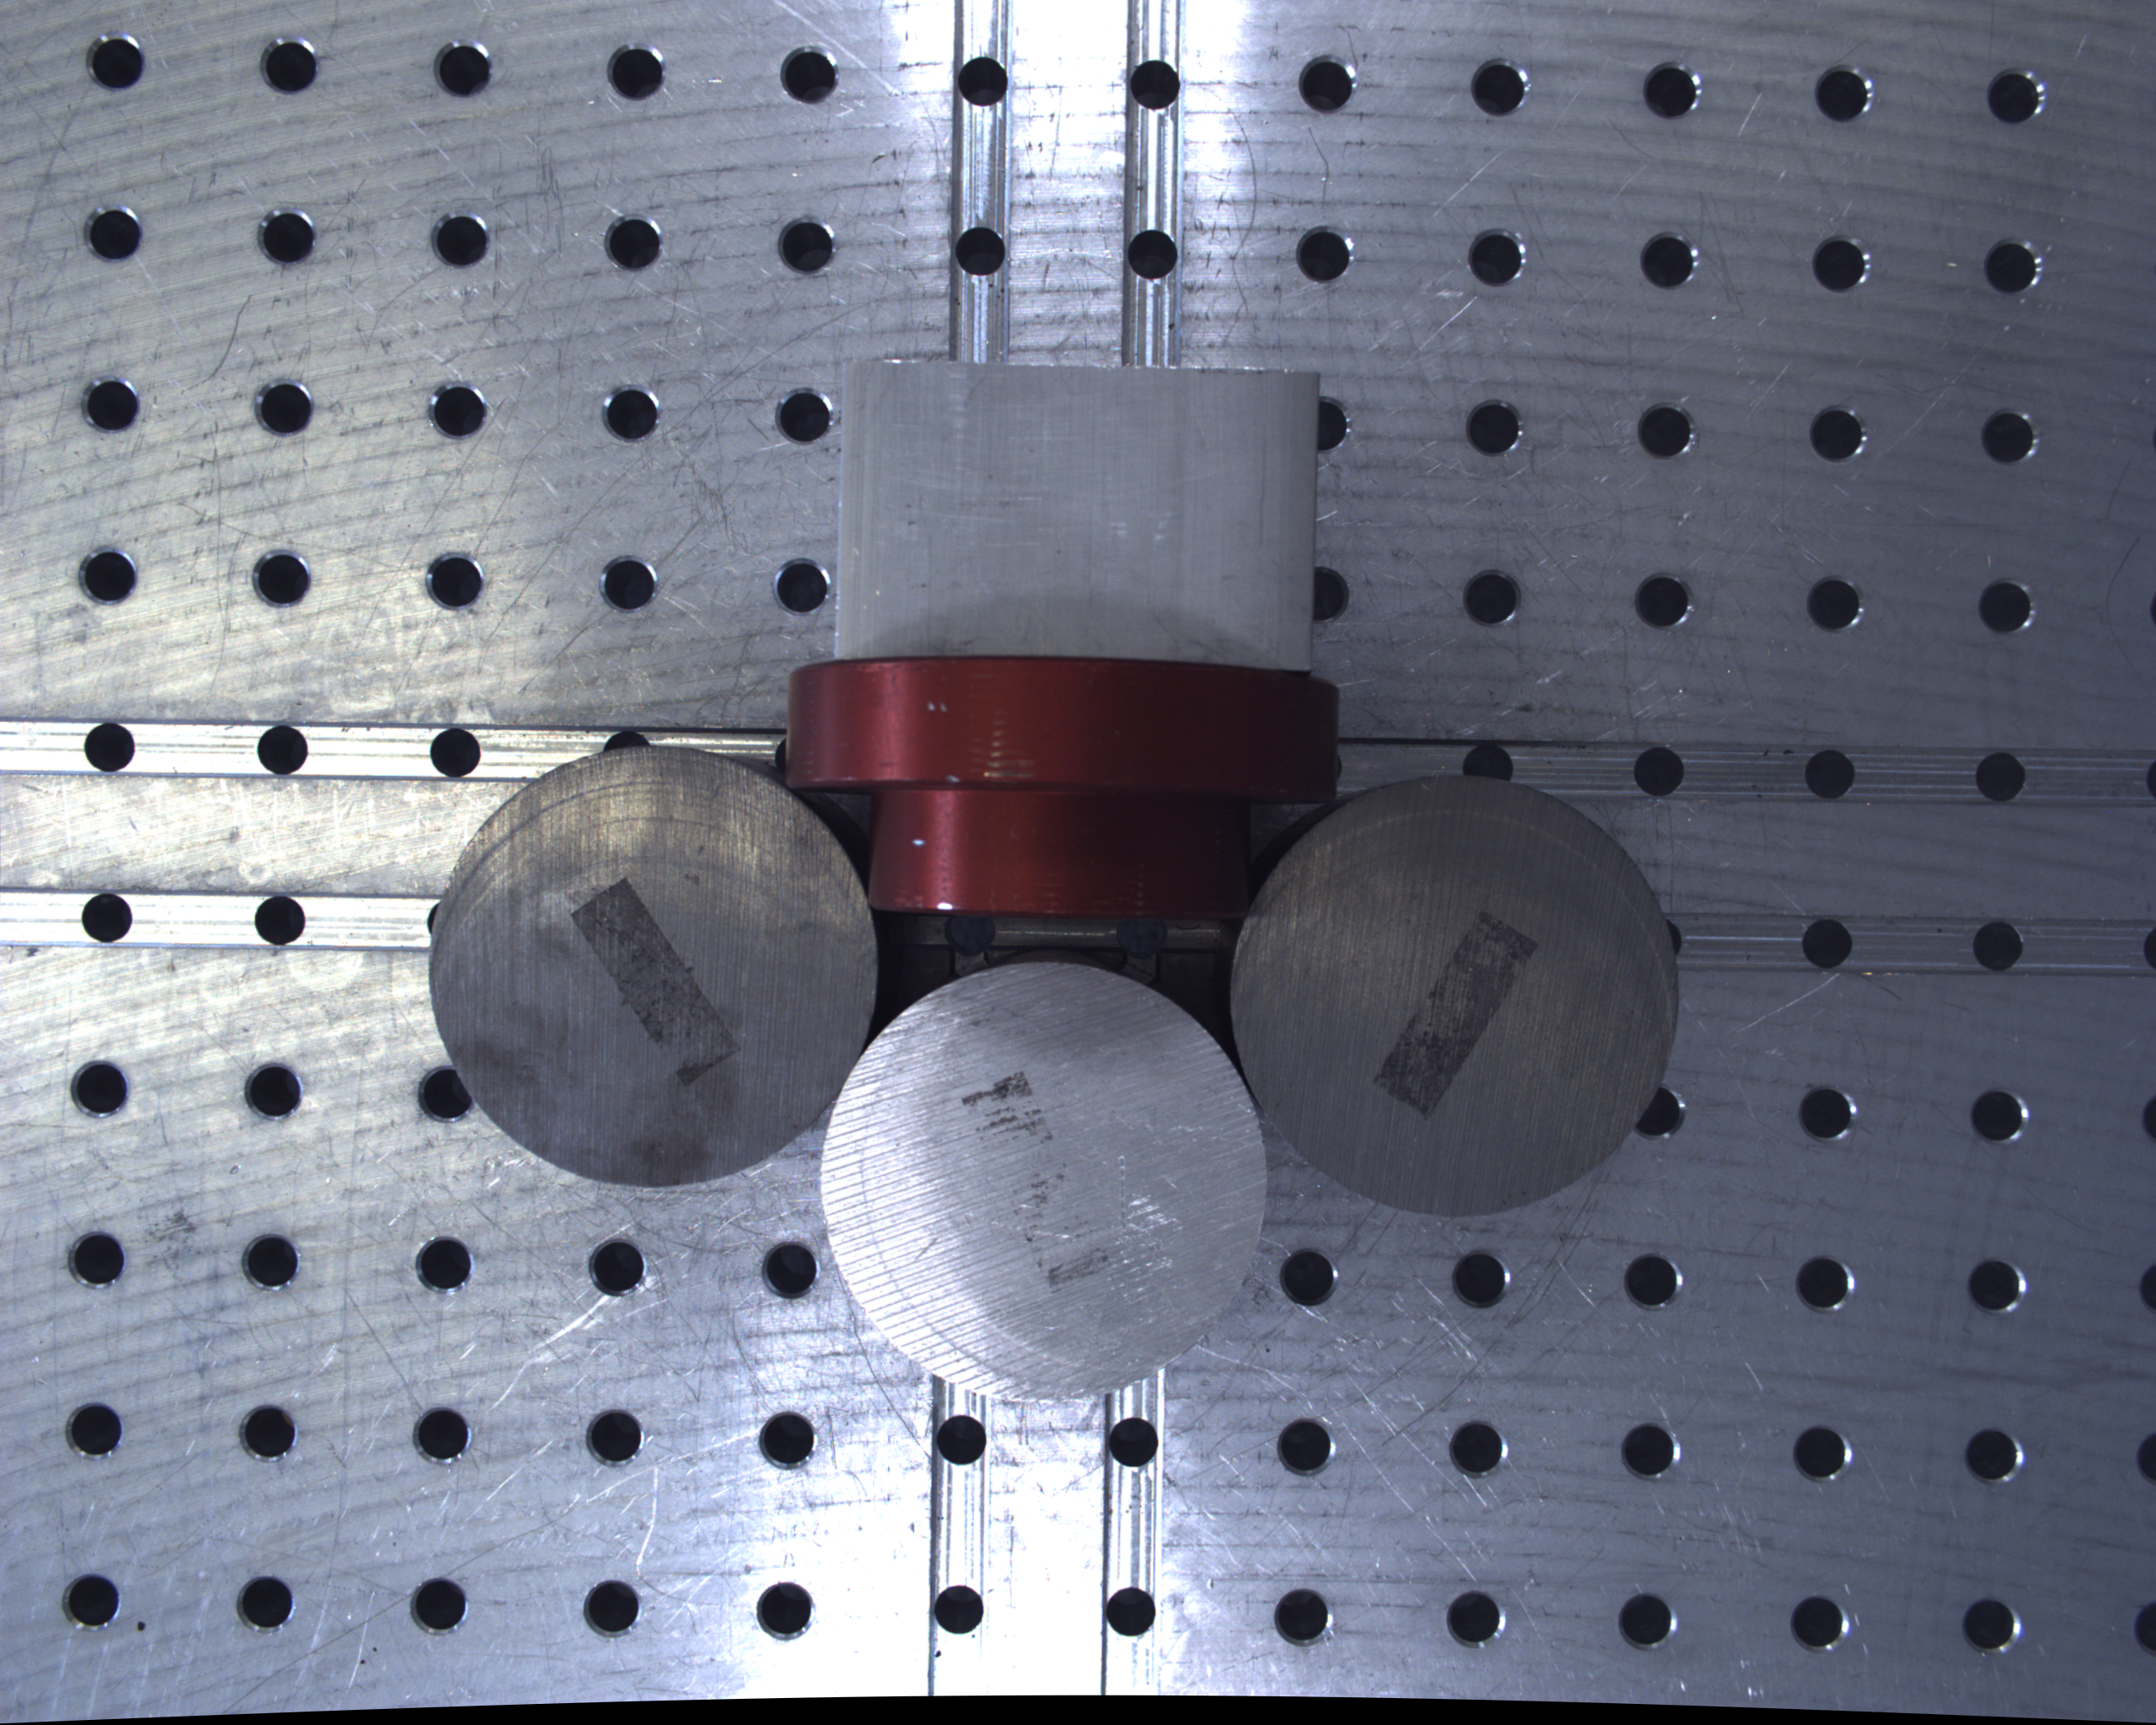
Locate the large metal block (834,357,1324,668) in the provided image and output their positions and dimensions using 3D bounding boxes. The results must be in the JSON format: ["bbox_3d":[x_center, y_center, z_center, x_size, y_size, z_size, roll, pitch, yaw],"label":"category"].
[{"bbox_3d":[0.000,-0.058,0.385,0.081,0.080,0.050,1,90,0],"label":"large metal block"}]

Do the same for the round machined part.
[{"bbox_3d":[-0.003,-0.011,0.375,0.099,0.098,0.042,2,90,0],"label":"round machined part"}]

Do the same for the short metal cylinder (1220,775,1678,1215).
[{"bbox_3d":[0.068,0.024,0.402,0.081,0.050,0.079,0,90,0],"label":"short metal cylinder"}]

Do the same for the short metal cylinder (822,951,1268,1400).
[{"bbox_3d":[-0.006,0.057,0.401,0.081,0.050,0.079,0,90,0],"label":"short metal cylinder"}]

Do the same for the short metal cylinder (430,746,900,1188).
[{"bbox_3d":[-0.076,0.019,0.400,0.081,0.050,0.079,0,90,0],"label":"short metal cylinder"}]
